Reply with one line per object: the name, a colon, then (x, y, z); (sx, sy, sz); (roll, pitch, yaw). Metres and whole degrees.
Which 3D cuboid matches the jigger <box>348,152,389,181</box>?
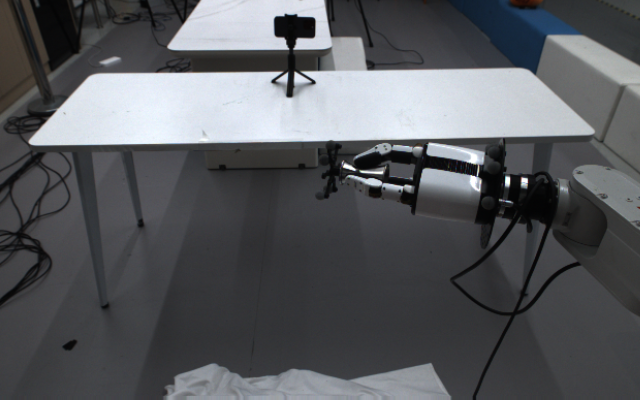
jigger: (0.073, -0.041, 0.728); (0.071, 0.043, 0.043); (9, 35, 17)
